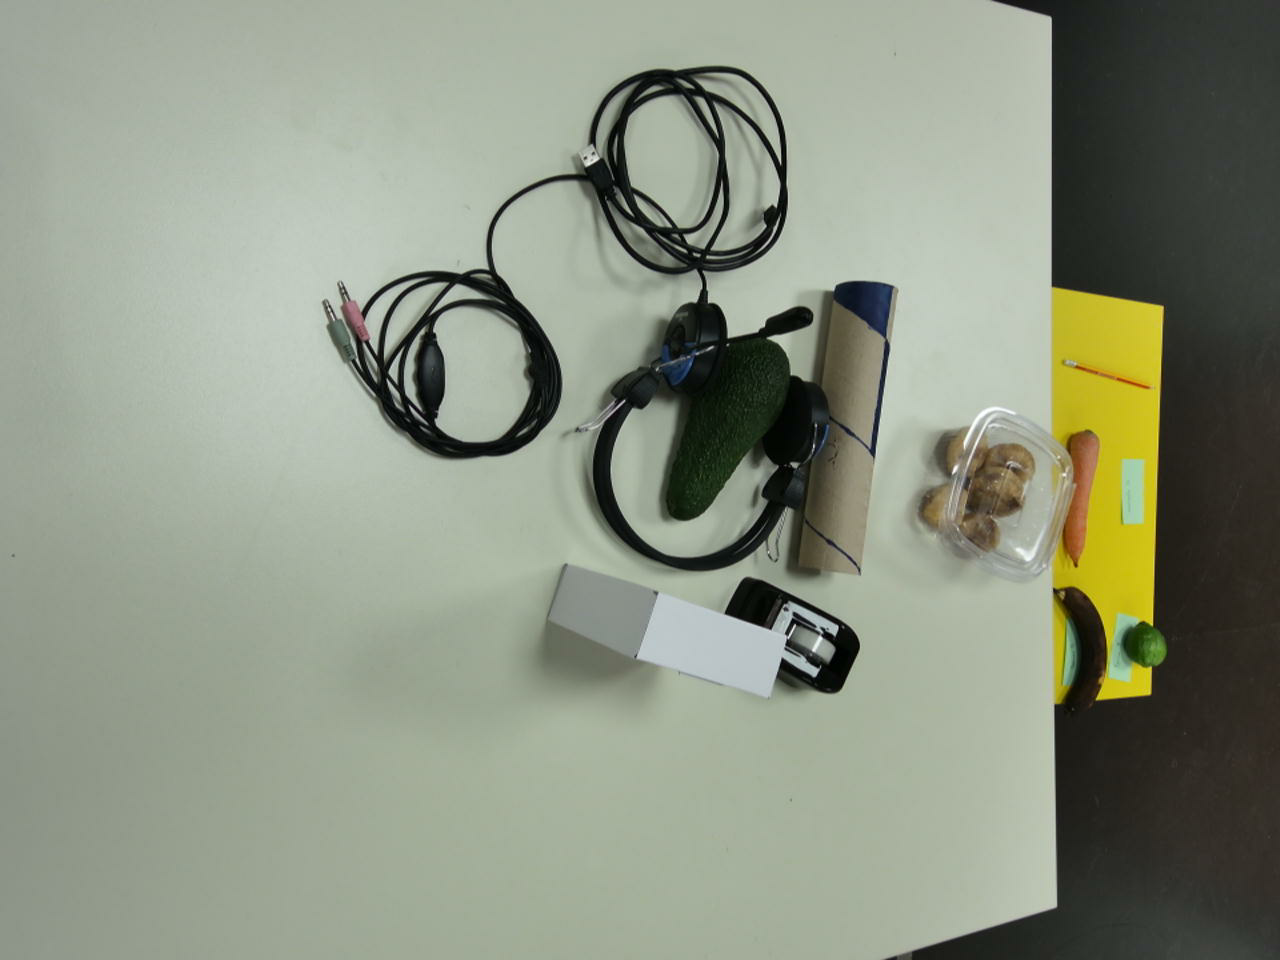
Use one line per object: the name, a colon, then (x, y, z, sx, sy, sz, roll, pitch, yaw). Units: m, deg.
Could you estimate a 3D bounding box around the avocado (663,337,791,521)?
avocado: (0.065, -0.033, 0.697, 0.063, 0.067, 0.141, 16, 83, -27)
